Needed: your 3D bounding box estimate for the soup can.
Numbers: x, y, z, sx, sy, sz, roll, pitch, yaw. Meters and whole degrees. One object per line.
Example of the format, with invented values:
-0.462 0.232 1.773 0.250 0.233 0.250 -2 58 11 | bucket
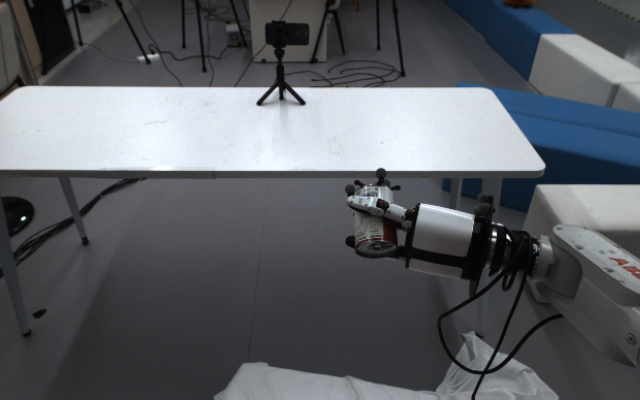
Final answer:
0.088 0.034 0.773 0.067 0.067 0.101 1 62 -2 | soup can
